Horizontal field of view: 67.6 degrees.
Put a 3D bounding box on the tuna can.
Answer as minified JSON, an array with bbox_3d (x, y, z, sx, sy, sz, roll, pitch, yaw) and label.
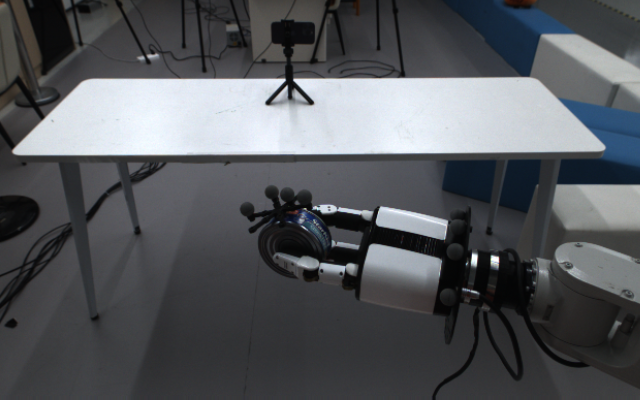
[{"bbox_3d":[-0.027,0.059,0.585,0.085,0.085,0.034,11,34,13],"label":"tuna can"}]
